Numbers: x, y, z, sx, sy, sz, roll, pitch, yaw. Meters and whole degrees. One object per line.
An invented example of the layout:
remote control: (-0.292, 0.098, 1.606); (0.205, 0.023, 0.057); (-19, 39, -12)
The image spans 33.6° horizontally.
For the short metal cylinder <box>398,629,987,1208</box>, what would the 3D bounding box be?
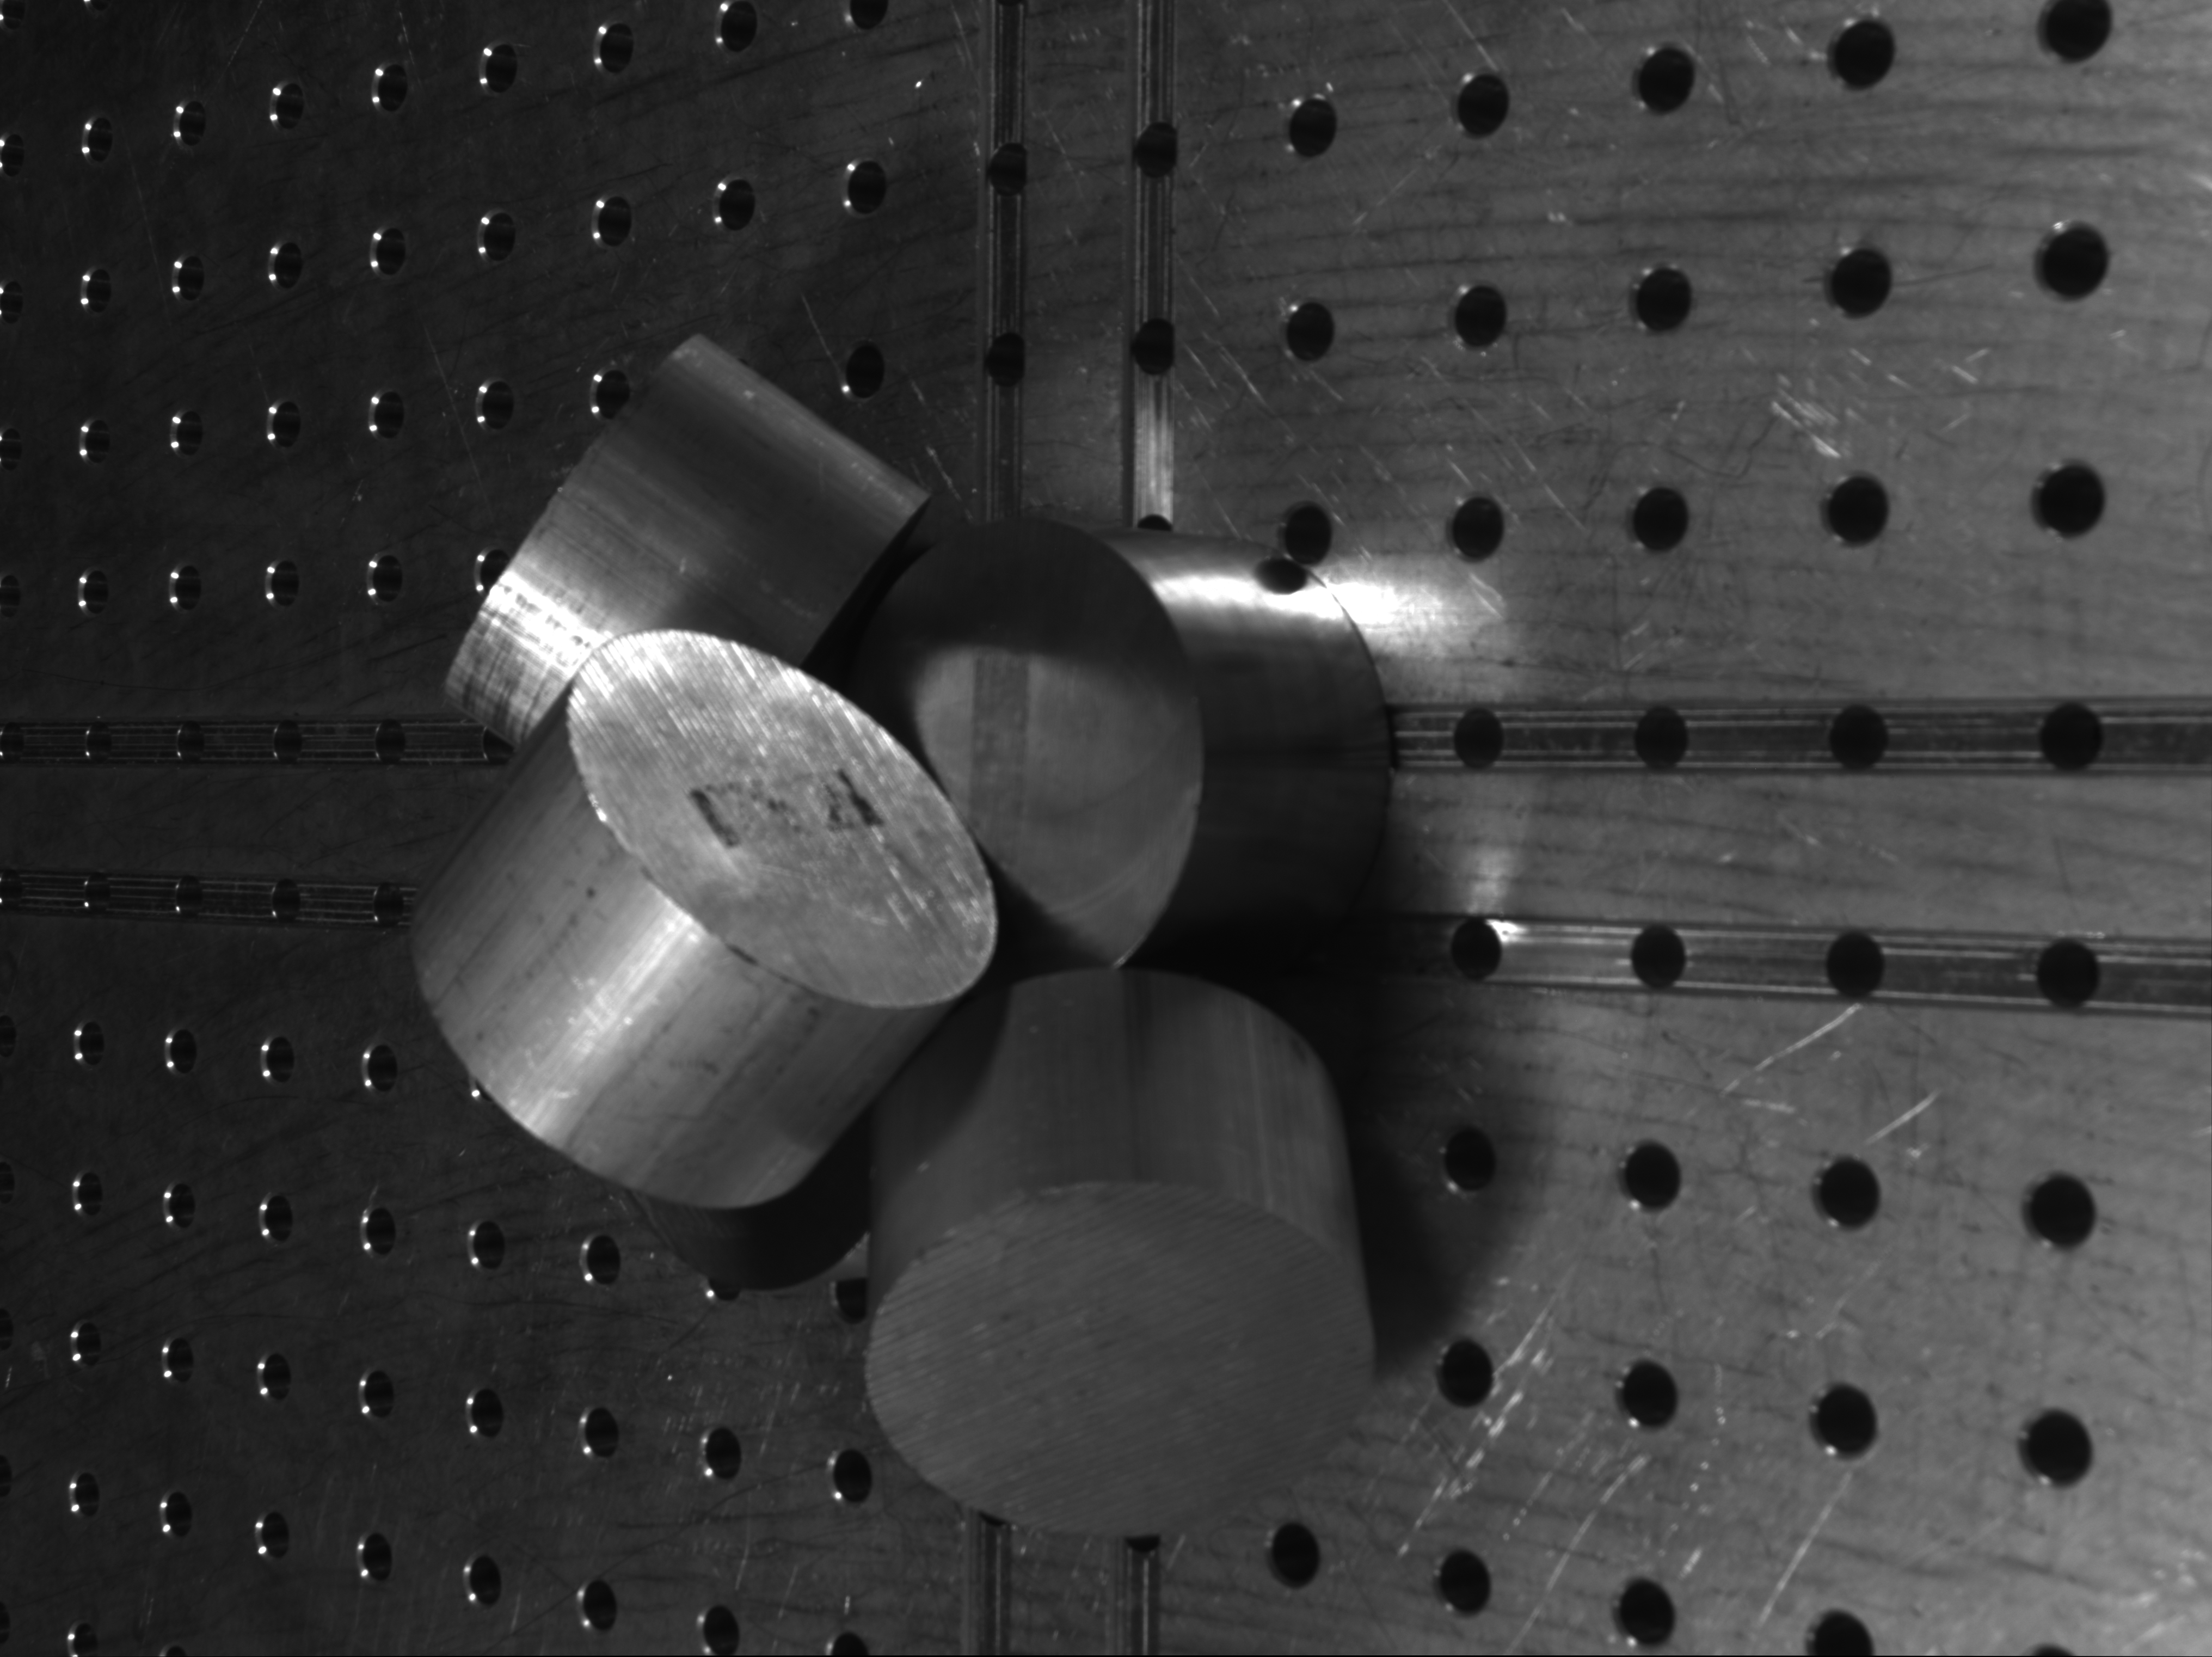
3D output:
short metal cylinder: (-0.066, 0.014, 0.592); (0.050, 0.080, 0.080); (-49, 61, 28)

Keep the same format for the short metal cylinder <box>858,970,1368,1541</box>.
short metal cylinder: (0.000, 0.070, 0.594); (0.080, 0.080, 0.050); (-48, 26, 29)

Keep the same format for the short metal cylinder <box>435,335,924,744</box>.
short metal cylinder: (-0.076, -0.041, 0.657); (0.050, 0.080, 0.080); (35, 116, -3)

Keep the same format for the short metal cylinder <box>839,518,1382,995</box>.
short metal cylinder: (0.000, -0.011, 0.623); (0.080, 0.050, 0.080); (0, 90, 39)

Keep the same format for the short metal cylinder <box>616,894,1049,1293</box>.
short metal cylinder: (-0.048, 0.042, 0.662); (0.080, 0.050, 0.080); (0, 90, 39)
